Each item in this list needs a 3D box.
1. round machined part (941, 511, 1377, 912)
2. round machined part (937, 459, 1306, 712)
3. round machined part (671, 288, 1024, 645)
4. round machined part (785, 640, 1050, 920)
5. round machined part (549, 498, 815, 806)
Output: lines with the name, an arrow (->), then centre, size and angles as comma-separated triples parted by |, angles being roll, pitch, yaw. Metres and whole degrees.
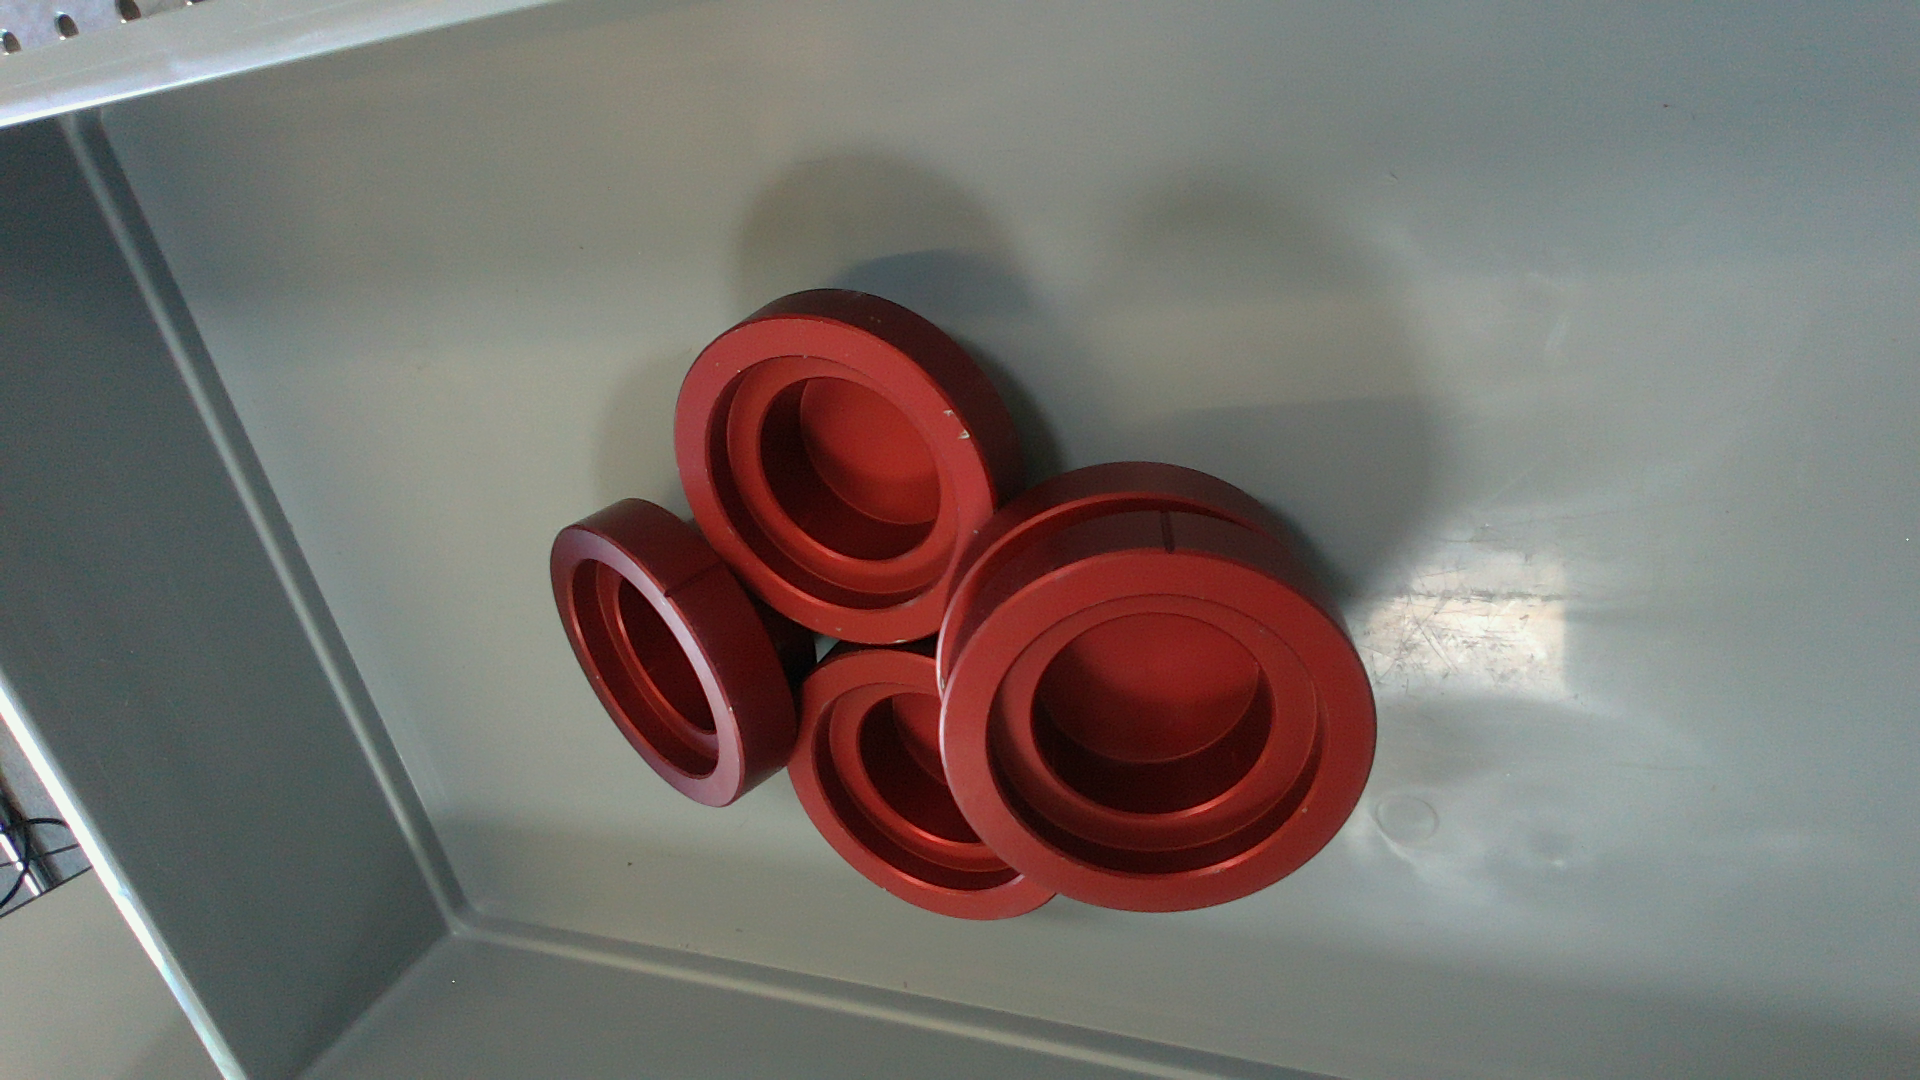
round machined part -> 0.046, 0.037, 0.329 | 0.098, 0.042, 0.098 | 1, 116, 3
round machined part -> 0.044, 0.024, 0.358 | 0.098, 0.042, 0.098 | 1, 116, 3
round machined part -> -0.027, -0.023, 0.380 | 0.098, 0.042, 0.098 | 13, 124, 21
round machined part -> -0.002, 0.065, 0.421 | 0.098, 0.042, 0.098 | 13, 124, 21
round machined part -> -0.083, 0.031, 0.430 | 0.098, 0.042, 0.098 | 31, 138, 34
